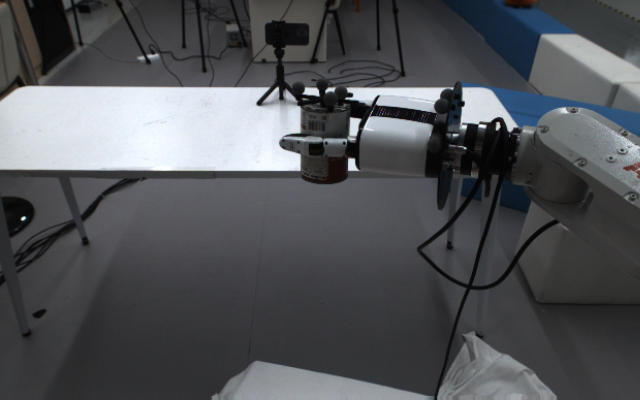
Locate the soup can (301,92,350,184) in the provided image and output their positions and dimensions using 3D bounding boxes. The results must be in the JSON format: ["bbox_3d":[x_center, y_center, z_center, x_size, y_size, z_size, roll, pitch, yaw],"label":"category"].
[{"bbox_3d":[0.007,-0.080,0.653,0.067,0.101,0.067,1,25,0],"label":"soup can"}]
